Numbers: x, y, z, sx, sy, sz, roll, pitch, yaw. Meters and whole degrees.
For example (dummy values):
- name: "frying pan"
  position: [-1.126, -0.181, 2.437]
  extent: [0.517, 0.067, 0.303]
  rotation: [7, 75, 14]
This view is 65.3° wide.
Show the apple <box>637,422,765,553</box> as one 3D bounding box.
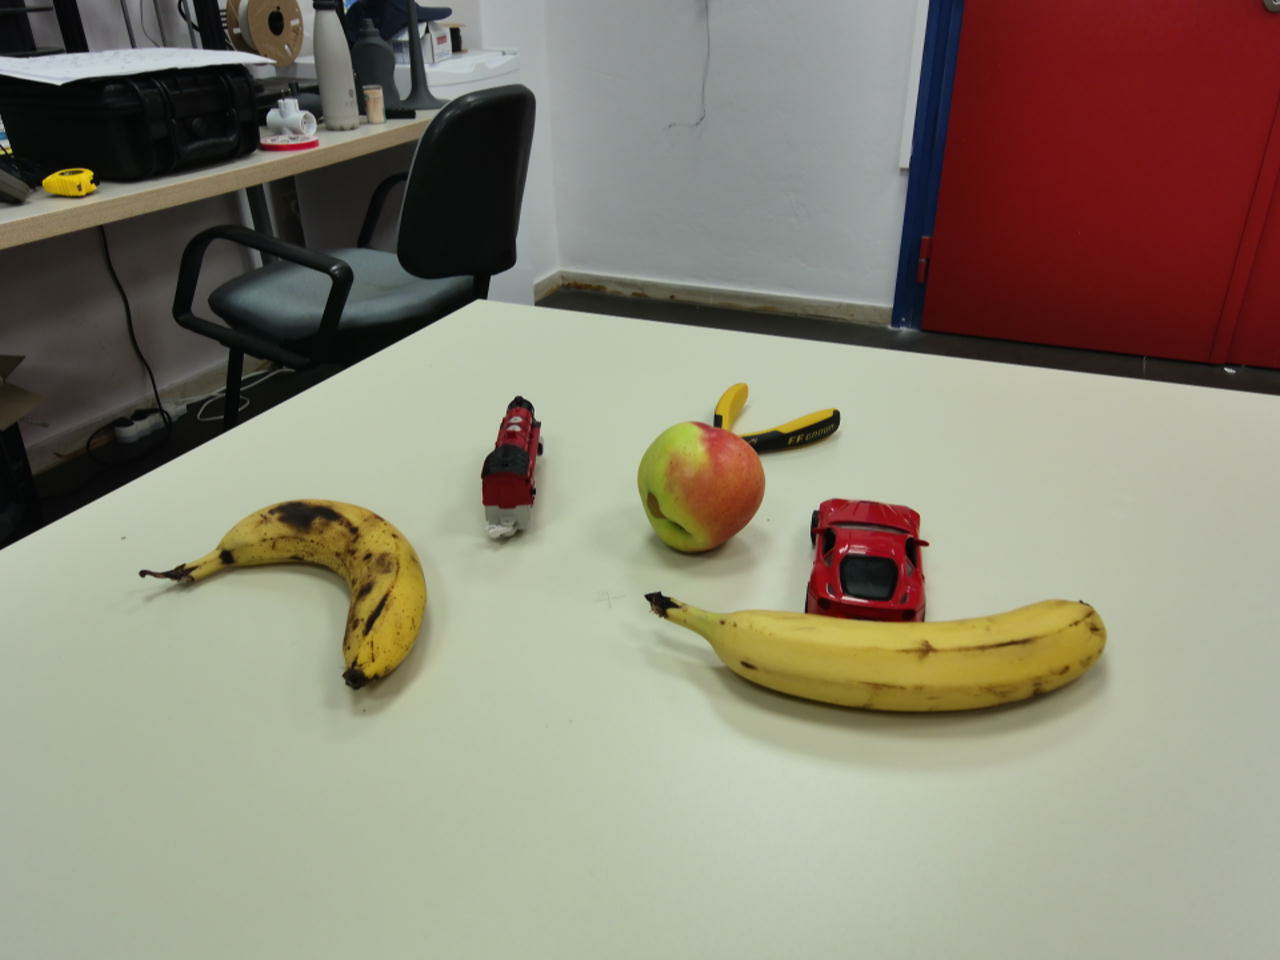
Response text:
- name: "apple"
  position: [0.035, 0.004, 0.591]
  extent: [0.075, 0.074, 0.075]
  rotation: [1, 25, 4]
